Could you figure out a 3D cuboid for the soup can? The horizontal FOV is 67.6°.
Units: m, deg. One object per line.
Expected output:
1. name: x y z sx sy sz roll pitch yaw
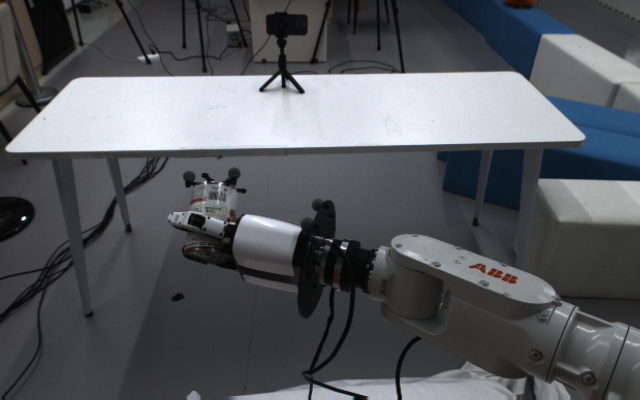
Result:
1. soup can: -0.151 0.033 0.681 0.067 0.067 0.101 1 68 -1
